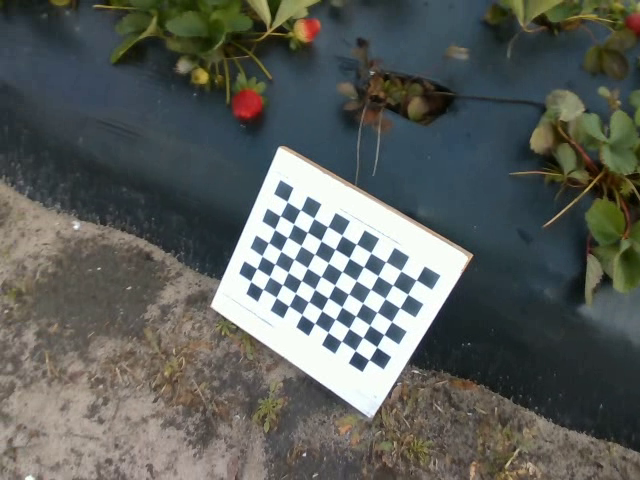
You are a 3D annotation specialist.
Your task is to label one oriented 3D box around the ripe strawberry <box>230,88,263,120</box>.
[{"bbox_3d":[-0.088,-0.185,1.105,0.045,0.042,0.055,-20,26,26],"label":"ripe strawberry"}]
